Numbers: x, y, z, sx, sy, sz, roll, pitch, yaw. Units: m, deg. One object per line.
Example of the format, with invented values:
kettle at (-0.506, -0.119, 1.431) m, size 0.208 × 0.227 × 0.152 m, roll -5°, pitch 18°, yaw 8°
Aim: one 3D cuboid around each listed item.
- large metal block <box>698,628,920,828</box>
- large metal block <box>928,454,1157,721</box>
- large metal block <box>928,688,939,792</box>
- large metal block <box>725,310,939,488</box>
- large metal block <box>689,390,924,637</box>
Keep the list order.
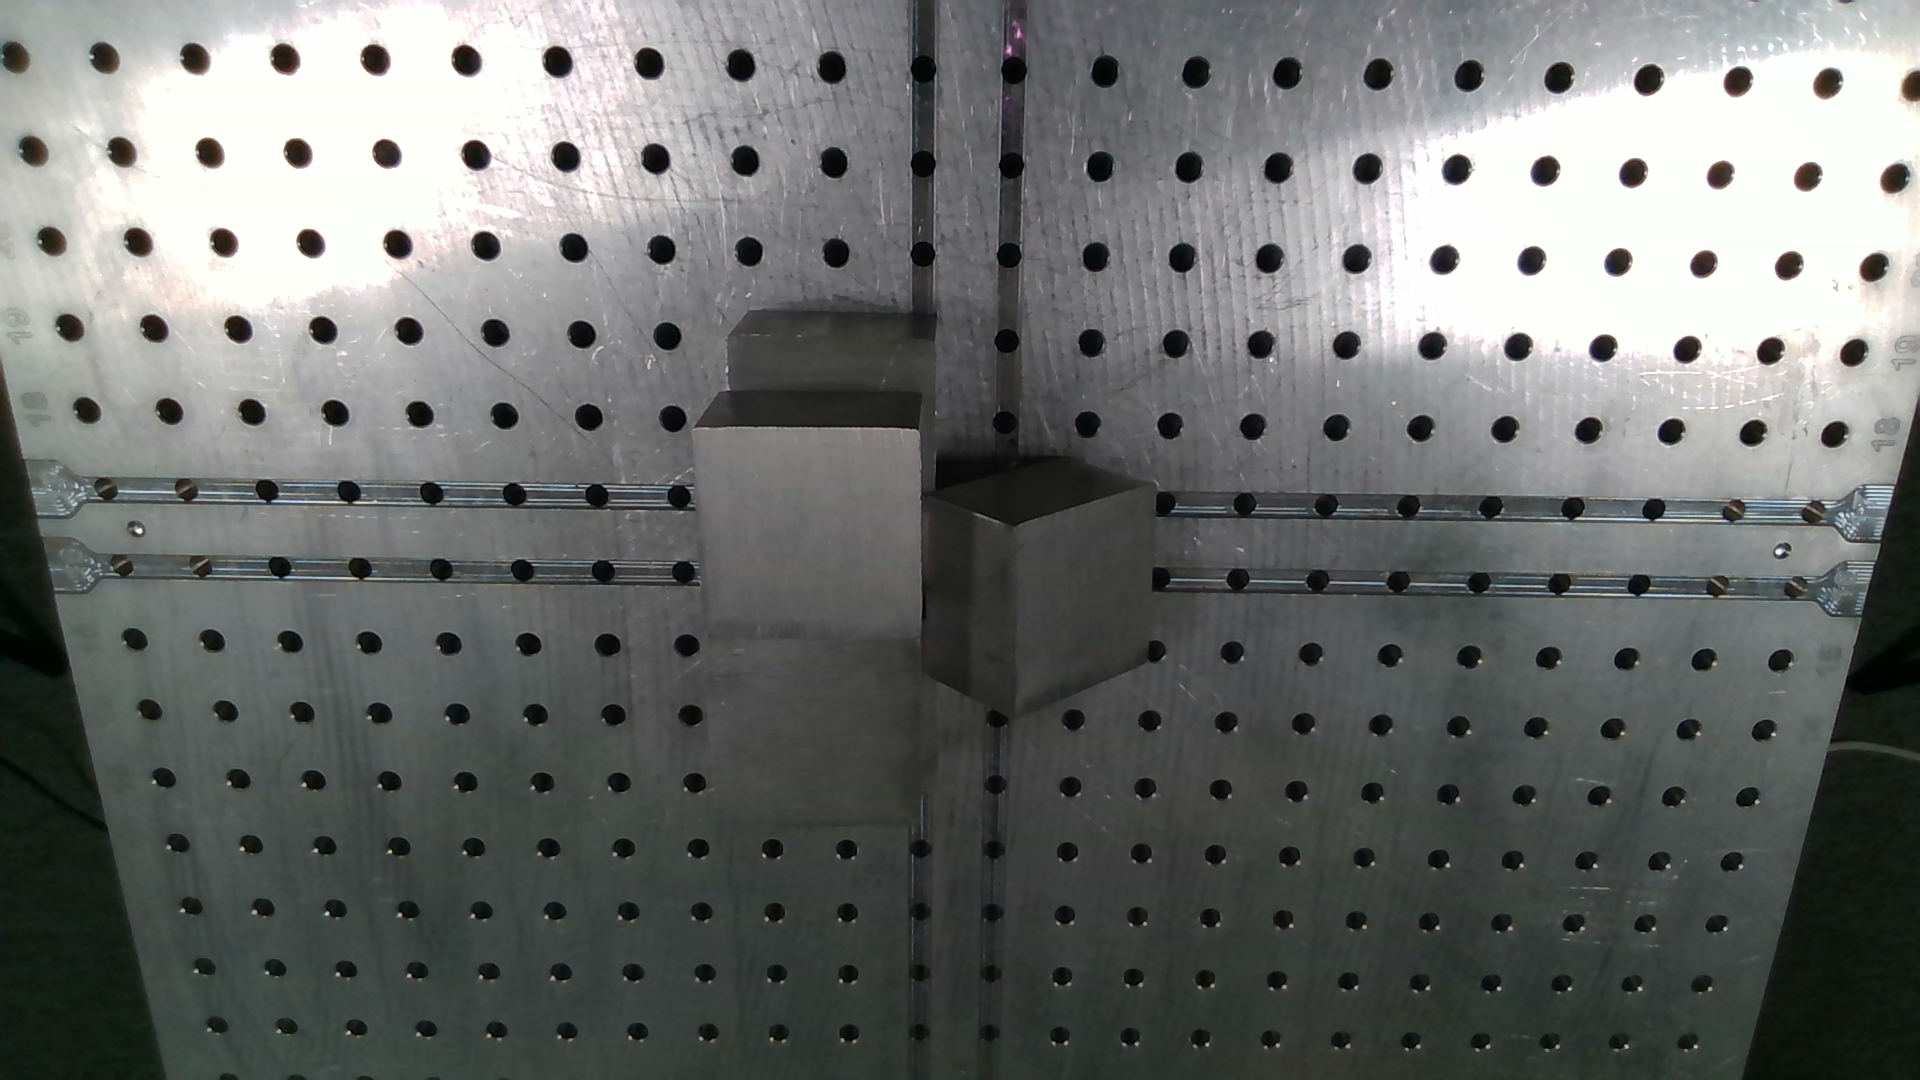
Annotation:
large metal block at (-0.056, 0.065, 0.543) m, size 0.080 × 0.050 × 0.080 m, roll 0°, pitch 110°, yaw 0°
large metal block at (0.032, 0.016, 0.558) m, size 0.080 × 0.050 × 0.080 m, roll -17°, pitch 117°, yaw -39°
large metal block at (-0.050, 0.062, 0.596) m, size 0.080 × 0.050 × 0.080 m, roll -1°, pitch 110°, yaw 0°
large metal block at (-0.050, -0.048, 0.557) m, size 0.080 × 0.050 × 0.080 m, roll 1°, pitch 110°, yaw 0°
large metal block at (-0.054, -0.011, 0.514) m, size 0.080 × 0.050 × 0.080 m, roll 0°, pitch 110°, yaw 0°
